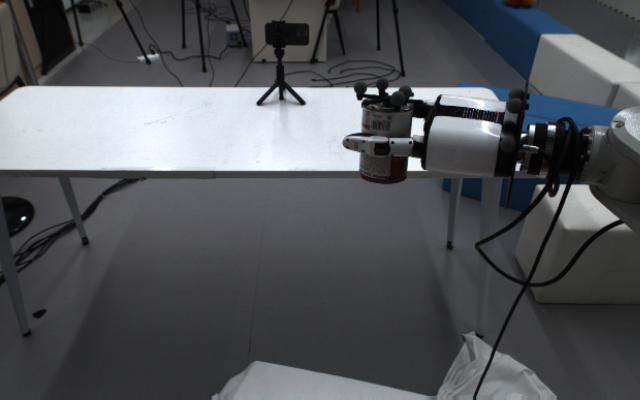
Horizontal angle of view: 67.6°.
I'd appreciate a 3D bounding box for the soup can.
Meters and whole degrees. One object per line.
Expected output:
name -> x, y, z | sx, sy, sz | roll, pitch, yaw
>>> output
soup can -> 0.088, -0.081, 0.653 | 0.067, 0.101, 0.067 | 1, 25, 0
